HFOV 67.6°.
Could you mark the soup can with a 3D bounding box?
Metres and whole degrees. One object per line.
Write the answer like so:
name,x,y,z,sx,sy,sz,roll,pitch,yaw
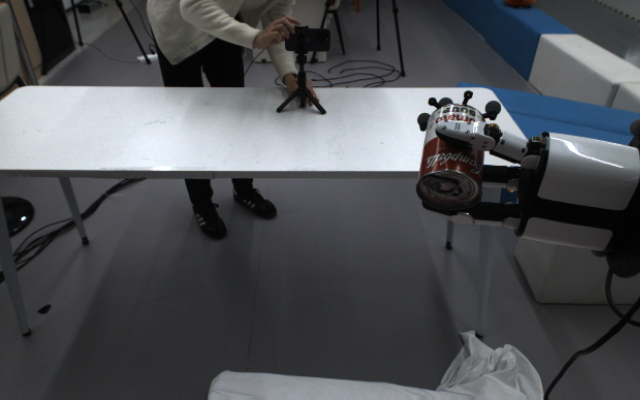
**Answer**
soup can,0.148,-0.050,0.538,0.067,0.067,0.101,9,56,10
